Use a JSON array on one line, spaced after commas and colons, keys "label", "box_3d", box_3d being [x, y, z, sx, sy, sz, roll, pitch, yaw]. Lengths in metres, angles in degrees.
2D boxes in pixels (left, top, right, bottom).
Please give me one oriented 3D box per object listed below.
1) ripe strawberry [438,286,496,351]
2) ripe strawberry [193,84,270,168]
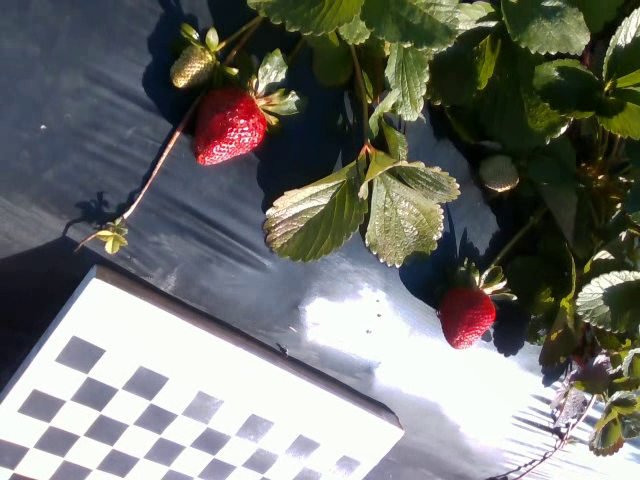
[{"label": "ripe strawberry", "box_3d": [0.097, 0.056, 0.402, 0.043, 0.043, 0.050, 7, 40, 31]}, {"label": "ripe strawberry", "box_3d": [-0.051, -0.057, 0.312, 0.043, 0.053, 0.042, -5, -40, 44]}]
